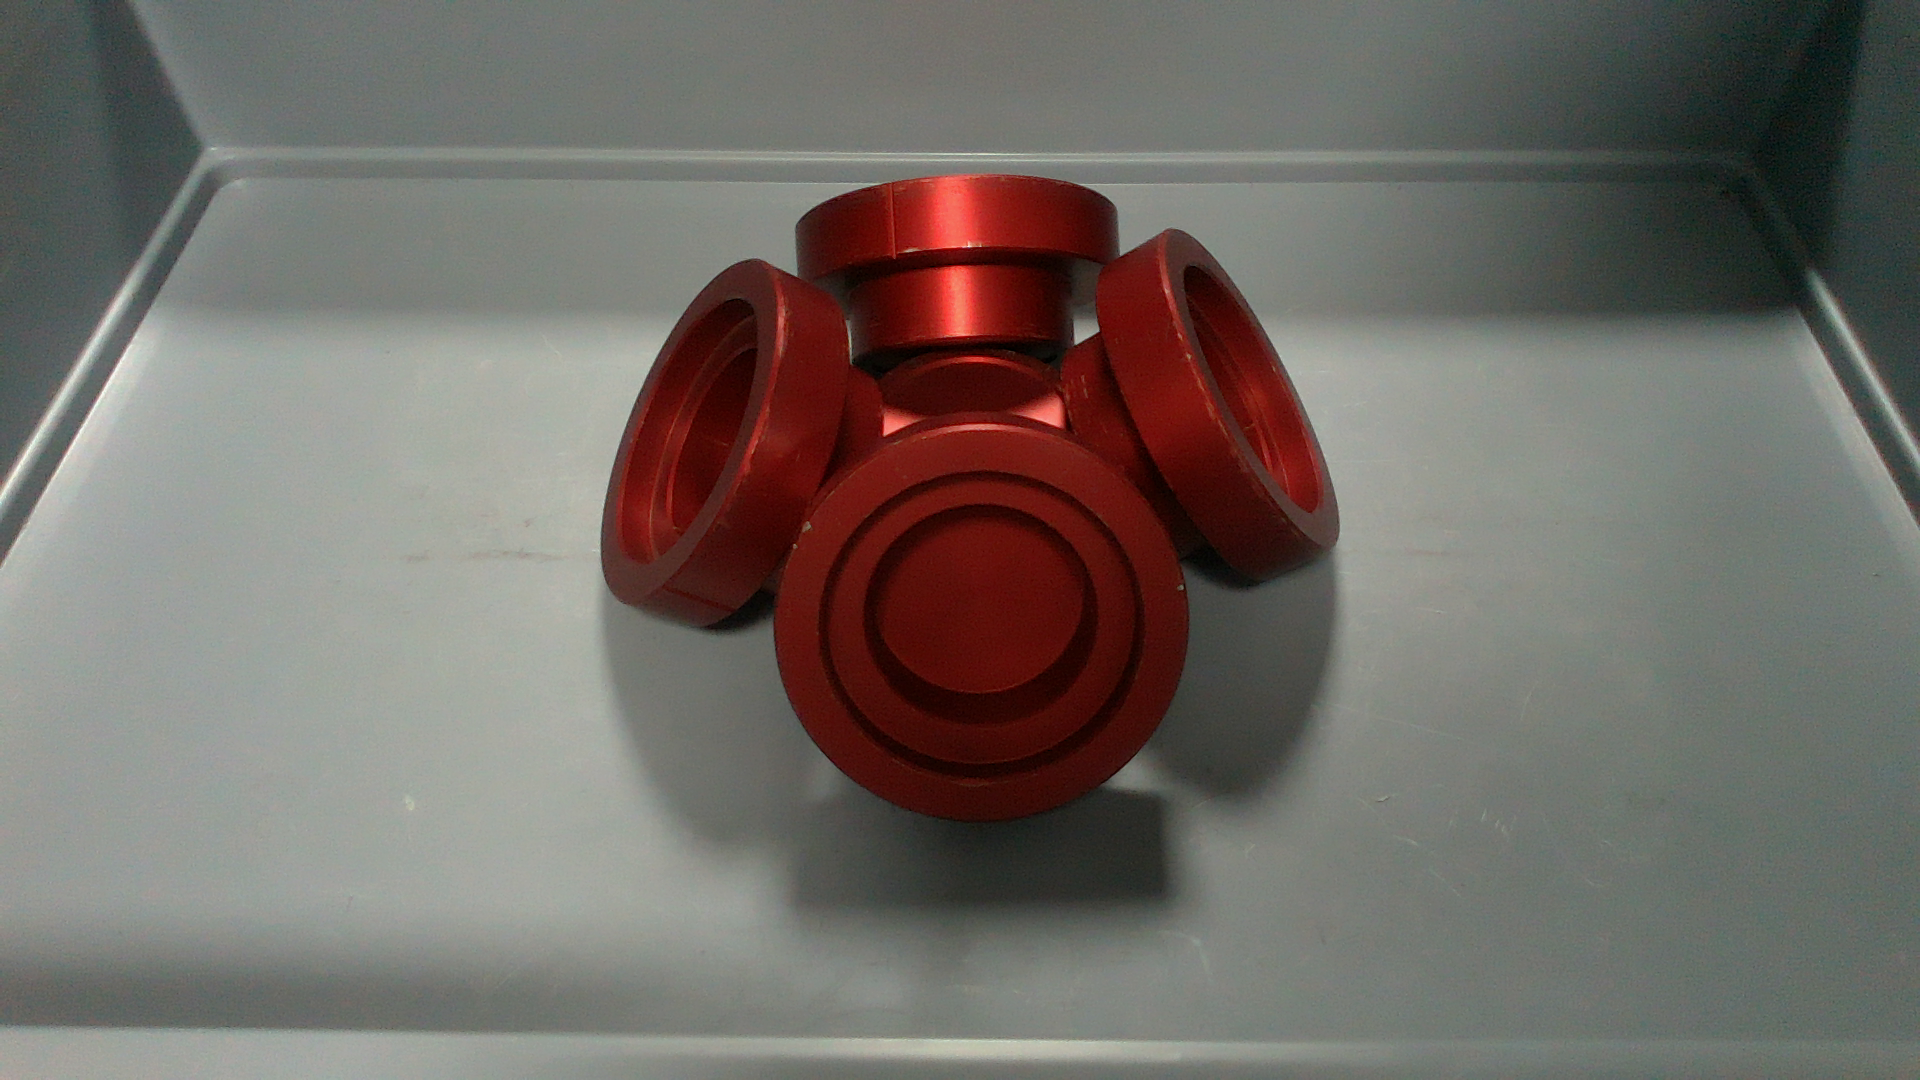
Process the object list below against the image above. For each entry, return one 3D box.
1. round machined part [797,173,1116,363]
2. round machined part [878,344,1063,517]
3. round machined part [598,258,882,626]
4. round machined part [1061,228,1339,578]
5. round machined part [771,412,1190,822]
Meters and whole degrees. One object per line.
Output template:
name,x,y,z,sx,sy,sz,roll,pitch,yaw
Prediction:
round machined part,0.000,-0.076,0.418,0.098,0.098,0.042,-3,88,-2
round machined part,0.004,-0.018,0.393,0.098,0.042,0.098,0,50,0
round machined part,-0.057,-0.023,0.374,0.042,0.098,0.098,22,41,-31
round machined part,0.064,-0.034,0.384,0.042,0.098,0.098,-27,45,25
round machined part,0.005,0.016,0.341,0.098,0.098,0.042,-1,14,-1
